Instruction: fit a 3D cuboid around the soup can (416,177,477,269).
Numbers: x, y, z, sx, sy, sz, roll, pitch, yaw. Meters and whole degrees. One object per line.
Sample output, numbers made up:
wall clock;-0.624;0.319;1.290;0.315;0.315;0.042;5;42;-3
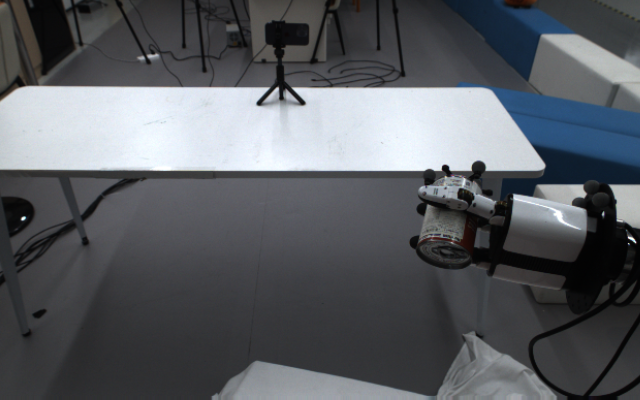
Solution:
soup can;0.166;0.024;0.614;0.067;0.067;0.101;12;59;14
